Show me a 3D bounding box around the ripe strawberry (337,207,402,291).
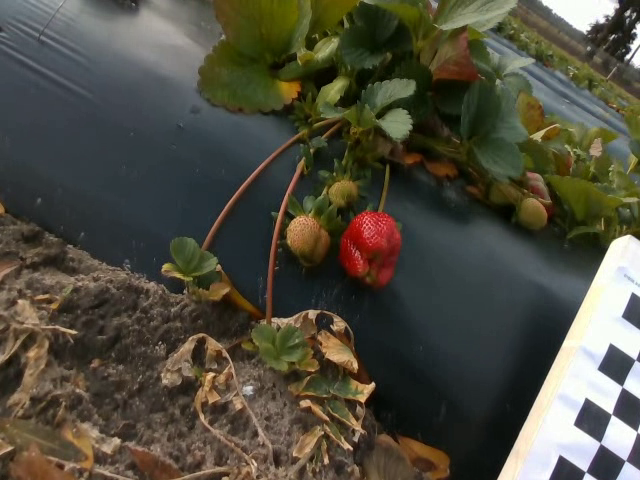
[{"bbox_3d":[0.044,0.002,0.465,0.066,0.075,0.052,17,-16,-9],"label":"ripe strawberry"}]
